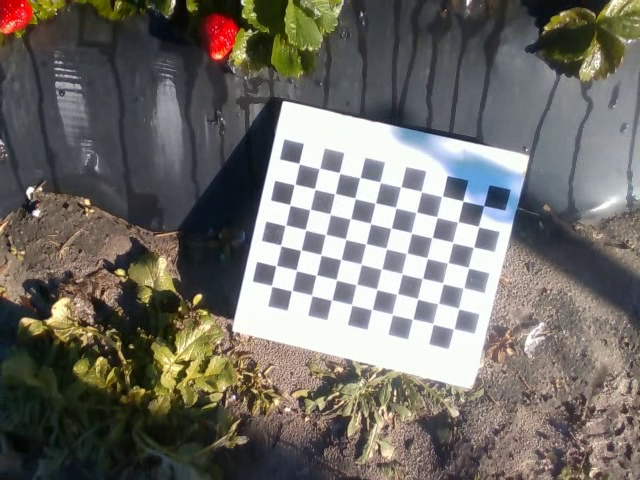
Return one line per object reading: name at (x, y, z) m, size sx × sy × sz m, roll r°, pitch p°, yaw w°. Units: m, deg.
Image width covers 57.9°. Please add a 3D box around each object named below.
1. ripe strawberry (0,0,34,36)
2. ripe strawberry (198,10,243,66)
ripe strawberry at (-0.287, -0.203, 0.524) m, size 0.037 × 0.040 × 0.051 m, roll -2°, pitch 44°, yaw 3°
ripe strawberry at (-0.092, -0.179, 0.517) m, size 0.041 × 0.053 × 0.047 m, roll 6°, pitch -36°, yaw 2°
